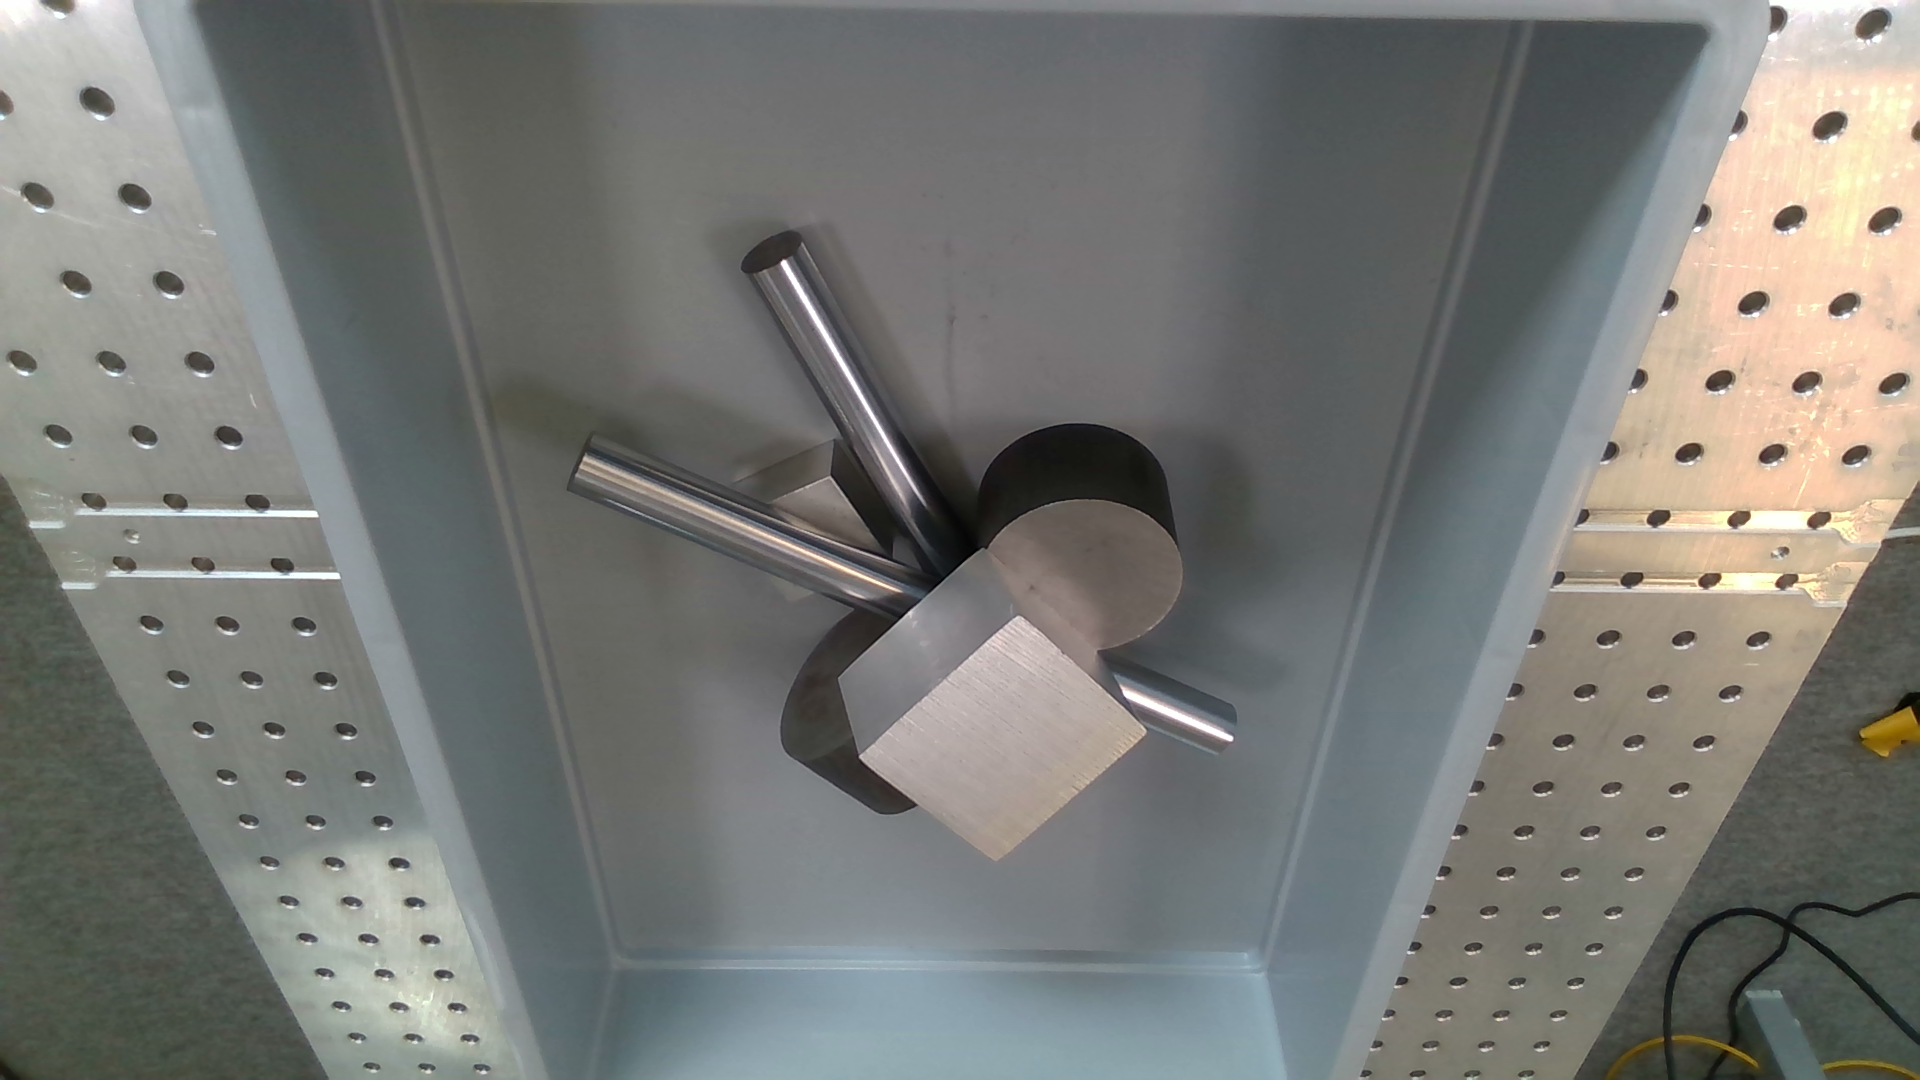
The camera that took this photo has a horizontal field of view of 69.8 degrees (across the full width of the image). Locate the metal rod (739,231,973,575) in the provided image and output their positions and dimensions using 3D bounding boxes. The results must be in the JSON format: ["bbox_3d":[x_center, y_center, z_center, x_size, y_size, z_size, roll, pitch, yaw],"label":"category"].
[{"bbox_3d":[-0.008,0.003,0.580,0.025,0.025,0.301,-18,128,15],"label":"metal rod"}]

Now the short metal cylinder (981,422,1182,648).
[{"bbox_3d":[0.047,-0.001,0.561,0.080,0.050,0.080,0,130,0],"label":"short metal cylinder"}]

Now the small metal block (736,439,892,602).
[{"bbox_3d":[-0.062,-0.007,0.572,0.050,0.025,0.050,-22,127,18],"label":"small metal block"}]

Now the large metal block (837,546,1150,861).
[{"bbox_3d":[0.012,0.064,0.534,0.080,0.050,0.080,-42,119,9],"label":"large metal block"}]

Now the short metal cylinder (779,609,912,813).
[{"bbox_3d":[-0.034,0.072,0.604,0.080,0.080,0.050,-36,121,26],"label":"short metal cylinder"}]

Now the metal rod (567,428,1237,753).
[{"bbox_3d":[-0.013,0.026,0.569,0.300,0.025,0.025,24,126,-19],"label":"metal rod"}]
